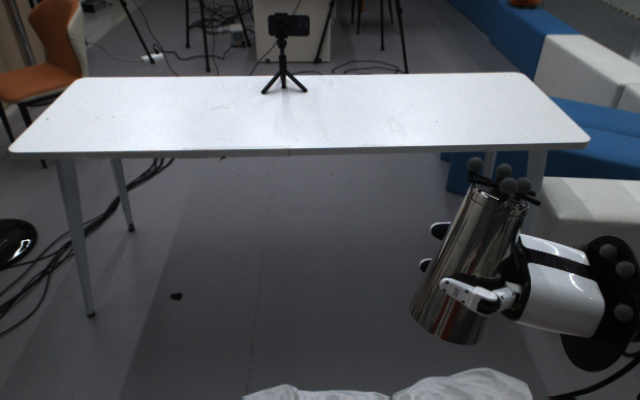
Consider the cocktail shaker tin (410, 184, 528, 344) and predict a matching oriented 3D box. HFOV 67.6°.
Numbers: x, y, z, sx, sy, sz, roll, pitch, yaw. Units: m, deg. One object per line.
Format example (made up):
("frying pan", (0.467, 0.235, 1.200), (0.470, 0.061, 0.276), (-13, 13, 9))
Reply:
("cocktail shaker tin", (0.178, 0.069, 0.564), (0.093, 0.170, 0.093), (14, 19, -5))
